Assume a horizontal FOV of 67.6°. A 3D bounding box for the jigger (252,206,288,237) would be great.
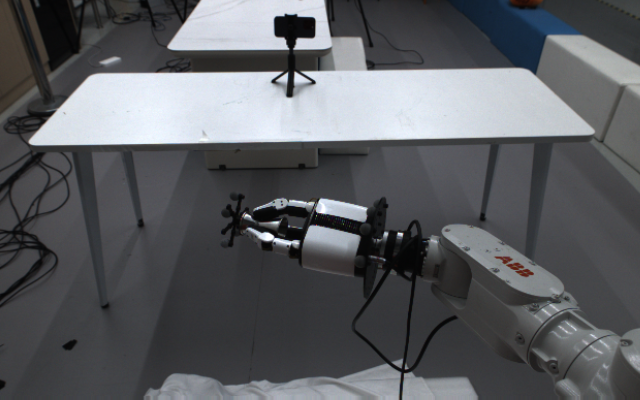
[{"bbox_3d":[-0.086,0.041,0.789,0.071,0.043,0.043,11,36,15],"label":"jigger"}]
